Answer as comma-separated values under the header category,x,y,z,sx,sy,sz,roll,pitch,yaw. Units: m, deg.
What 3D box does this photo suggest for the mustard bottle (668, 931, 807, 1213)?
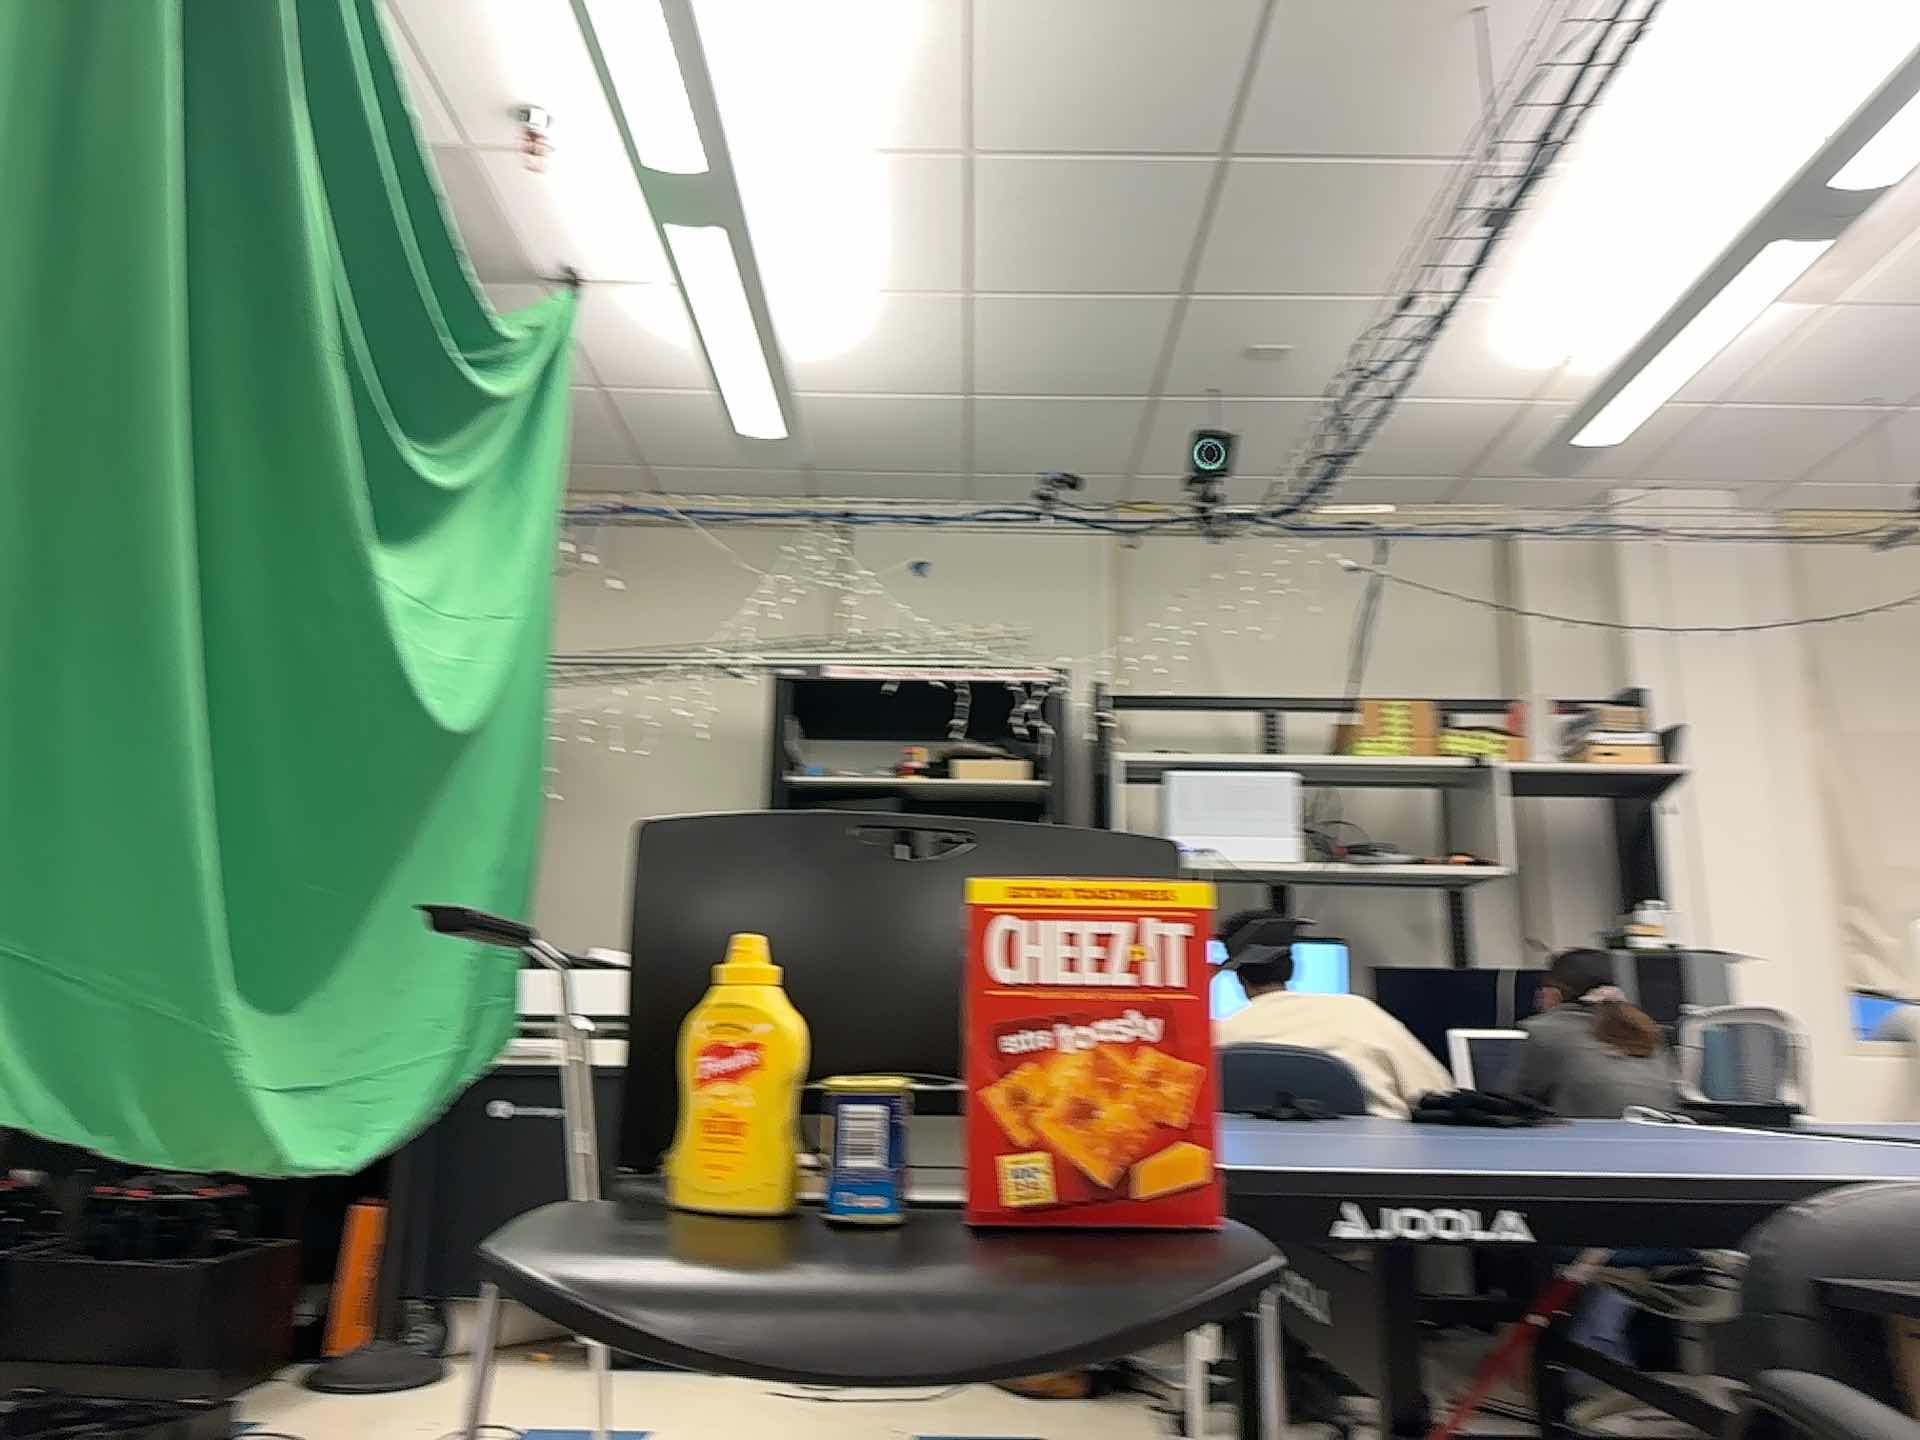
category,x,y,z,sx,sy,sz,roll,pitch,yaw
mustard bottle,-0.151,0.239,0.931,0.092,0.184,0.054,-1,-11,16

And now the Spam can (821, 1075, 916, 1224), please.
category,x,y,z,sx,sy,sz,roll,pitch,yaw
Spam can,-0.063,0.288,0.916,0.056,0.083,0.100,2,-11,2

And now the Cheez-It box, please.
category,x,y,z,sx,sy,sz,roll,pitch,yaw
Cheez-It box,0.086,0.215,0.911,0.159,0.214,0.062,0,-13,0
